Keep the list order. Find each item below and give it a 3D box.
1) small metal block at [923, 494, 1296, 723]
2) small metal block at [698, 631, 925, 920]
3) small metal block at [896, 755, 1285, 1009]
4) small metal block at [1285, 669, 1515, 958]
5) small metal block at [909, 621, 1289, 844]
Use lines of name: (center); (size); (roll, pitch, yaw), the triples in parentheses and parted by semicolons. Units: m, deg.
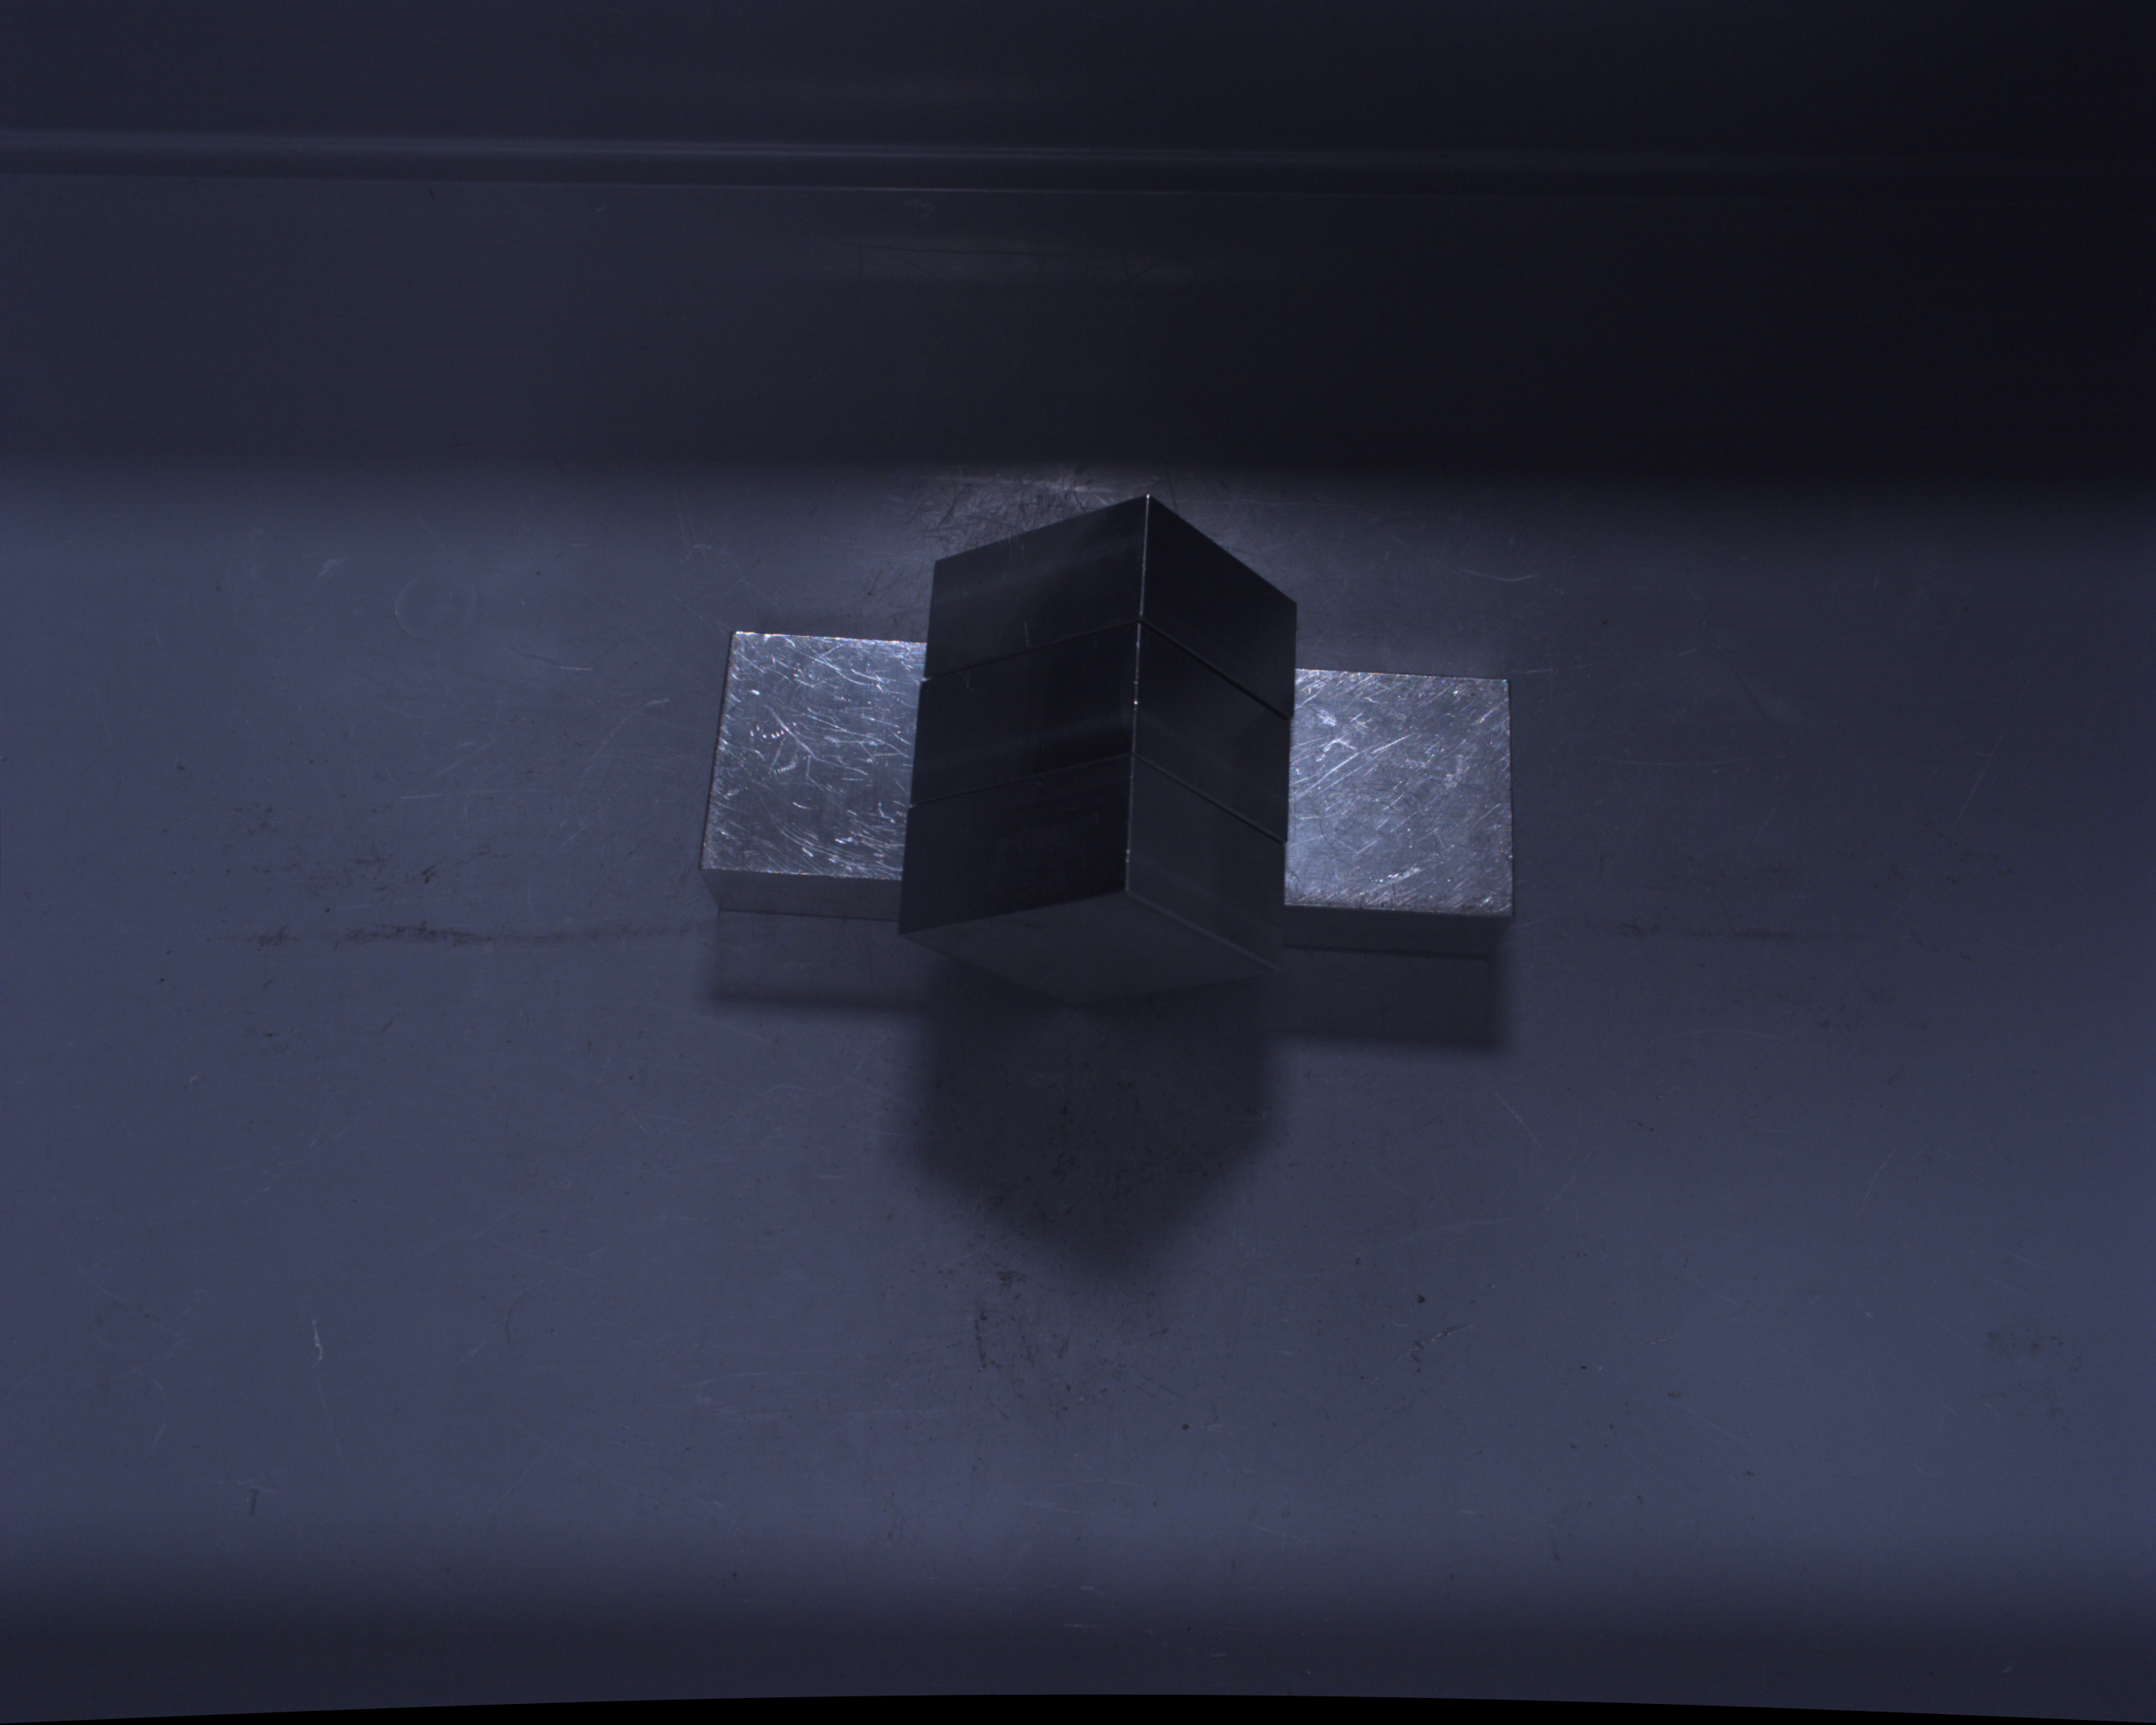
small metal block: (0.007, -0.042, 0.399); (0.050, 0.050, 0.025); (-11, 65, 35)
small metal block: (-0.045, -0.016, 0.413); (0.050, 0.025, 0.050); (4, 70, 1)
small metal block: (0.003, 0.005, 0.382); (0.050, 0.050, 0.025); (-12, 65, 34)
small metal block: (0.058, -0.010, 0.413); (0.050, 0.025, 0.050); (3, 70, 0)
small metal block: (0.005, -0.018, 0.391); (0.050, 0.050, 0.025); (-12, 65, 34)
